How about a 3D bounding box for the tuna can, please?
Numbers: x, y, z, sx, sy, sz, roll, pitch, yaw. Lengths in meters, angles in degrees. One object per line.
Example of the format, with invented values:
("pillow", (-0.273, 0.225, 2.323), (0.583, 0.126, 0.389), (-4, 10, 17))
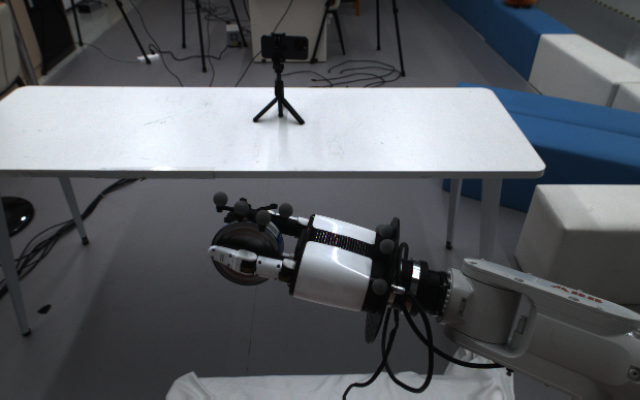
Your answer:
("tuna can", (-0.087, 0.060, 0.596), (0.085, 0.085, 0.034), (5, 18, 4))
